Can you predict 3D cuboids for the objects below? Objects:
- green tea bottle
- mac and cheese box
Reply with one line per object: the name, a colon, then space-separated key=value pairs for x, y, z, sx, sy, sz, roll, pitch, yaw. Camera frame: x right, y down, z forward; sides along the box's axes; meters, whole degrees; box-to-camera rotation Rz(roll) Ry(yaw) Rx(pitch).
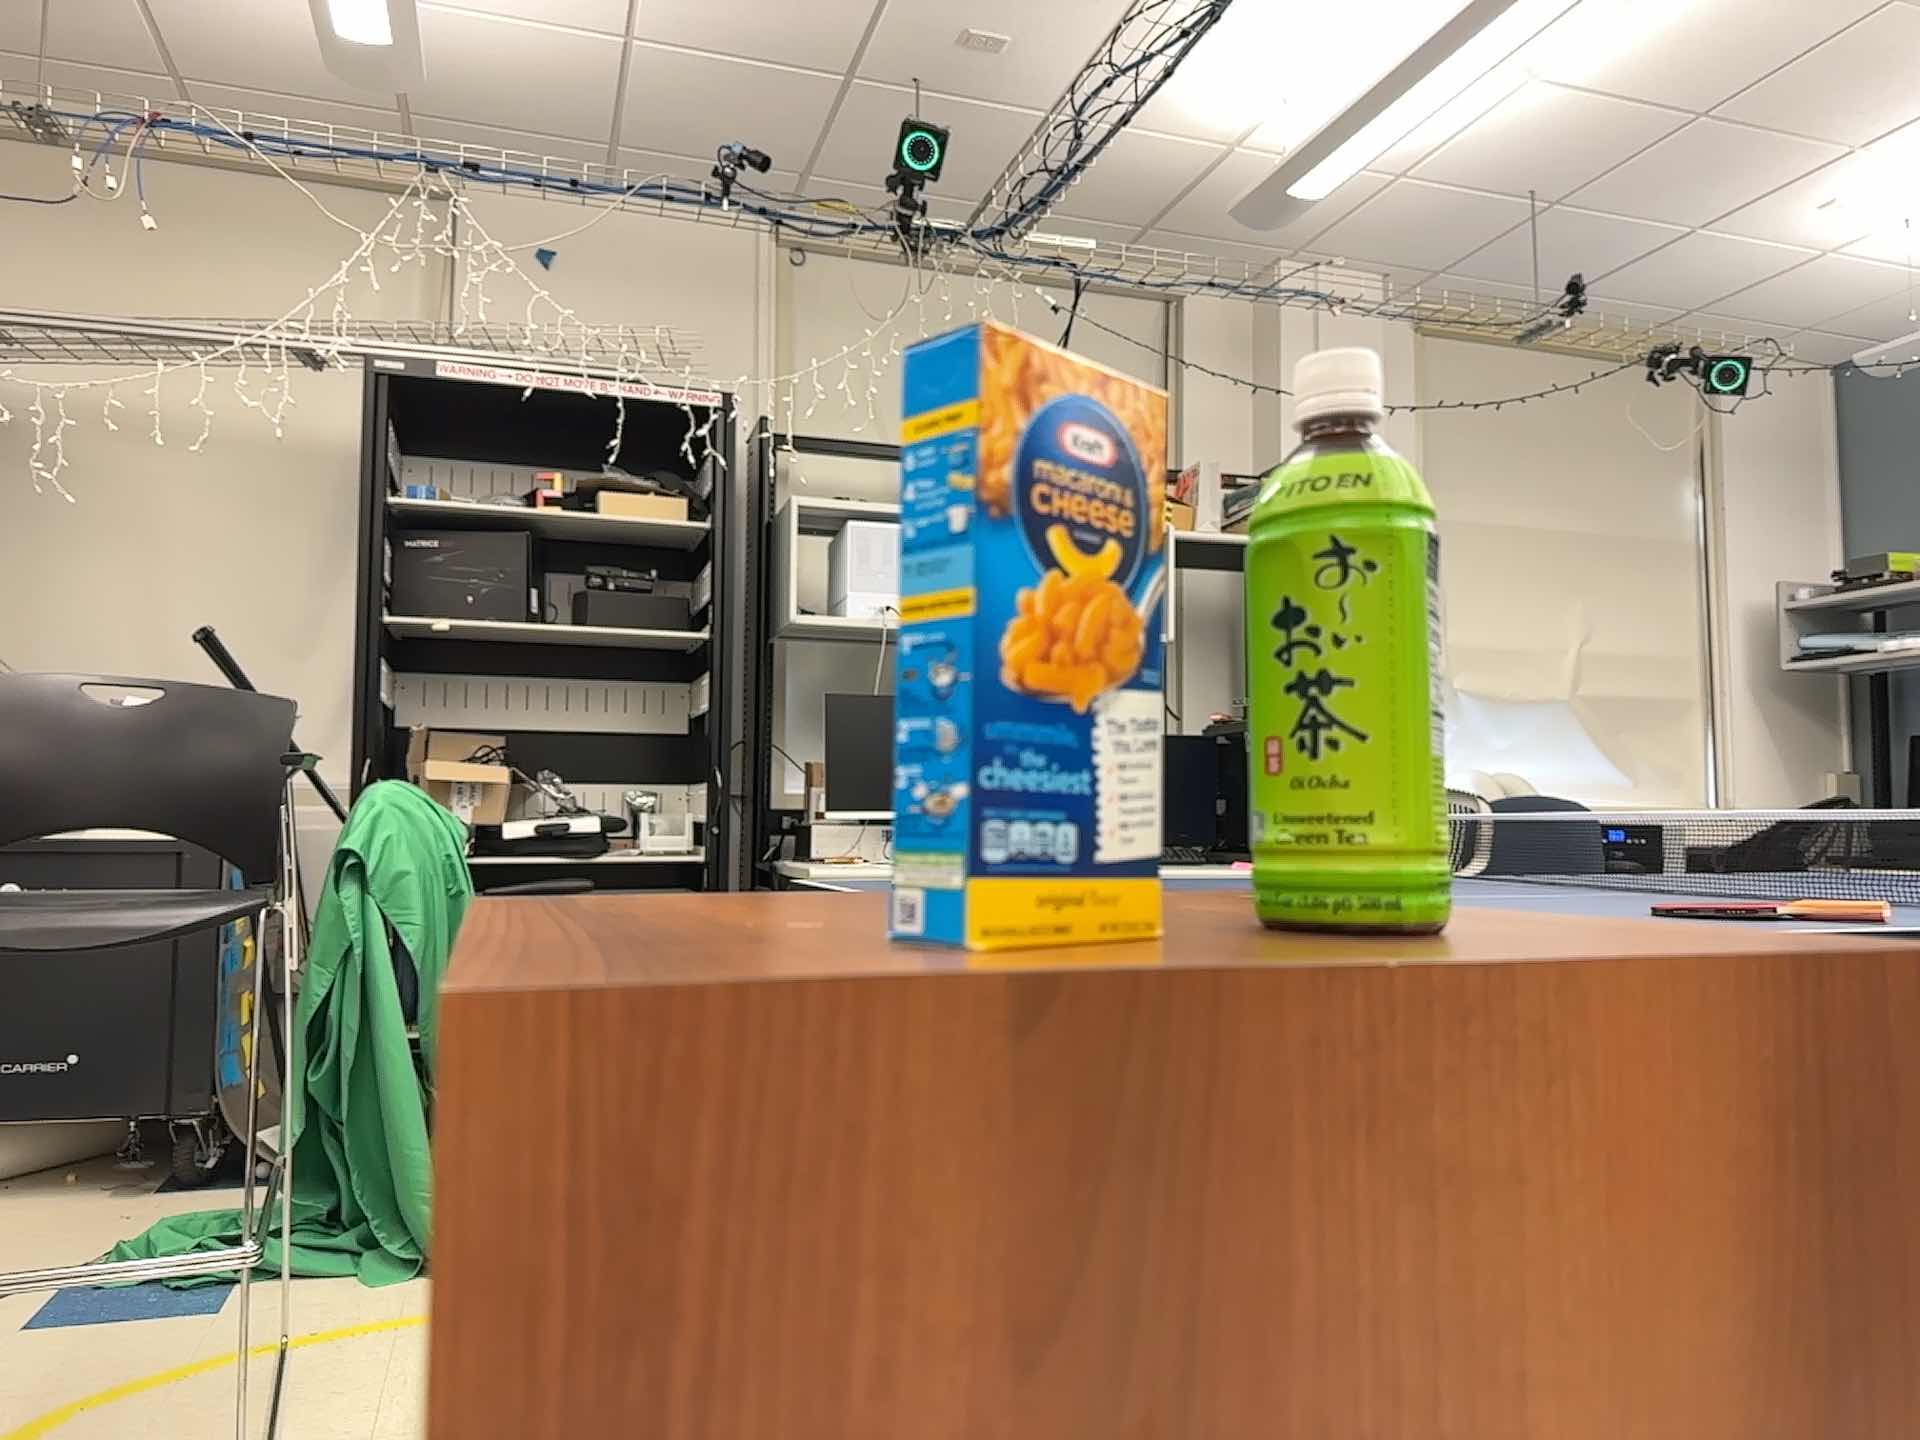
green tea bottle: x=0.140 y=-0.031 z=0.496 sx=0.073 sy=0.212 sz=0.073 roll=2 pitch=-8 yaw=0
mac and cheese box: x=0.023 y=-0.024 z=0.429 sx=0.088 sy=0.181 sz=0.035 roll=6 pitch=-8 yaw=-42
